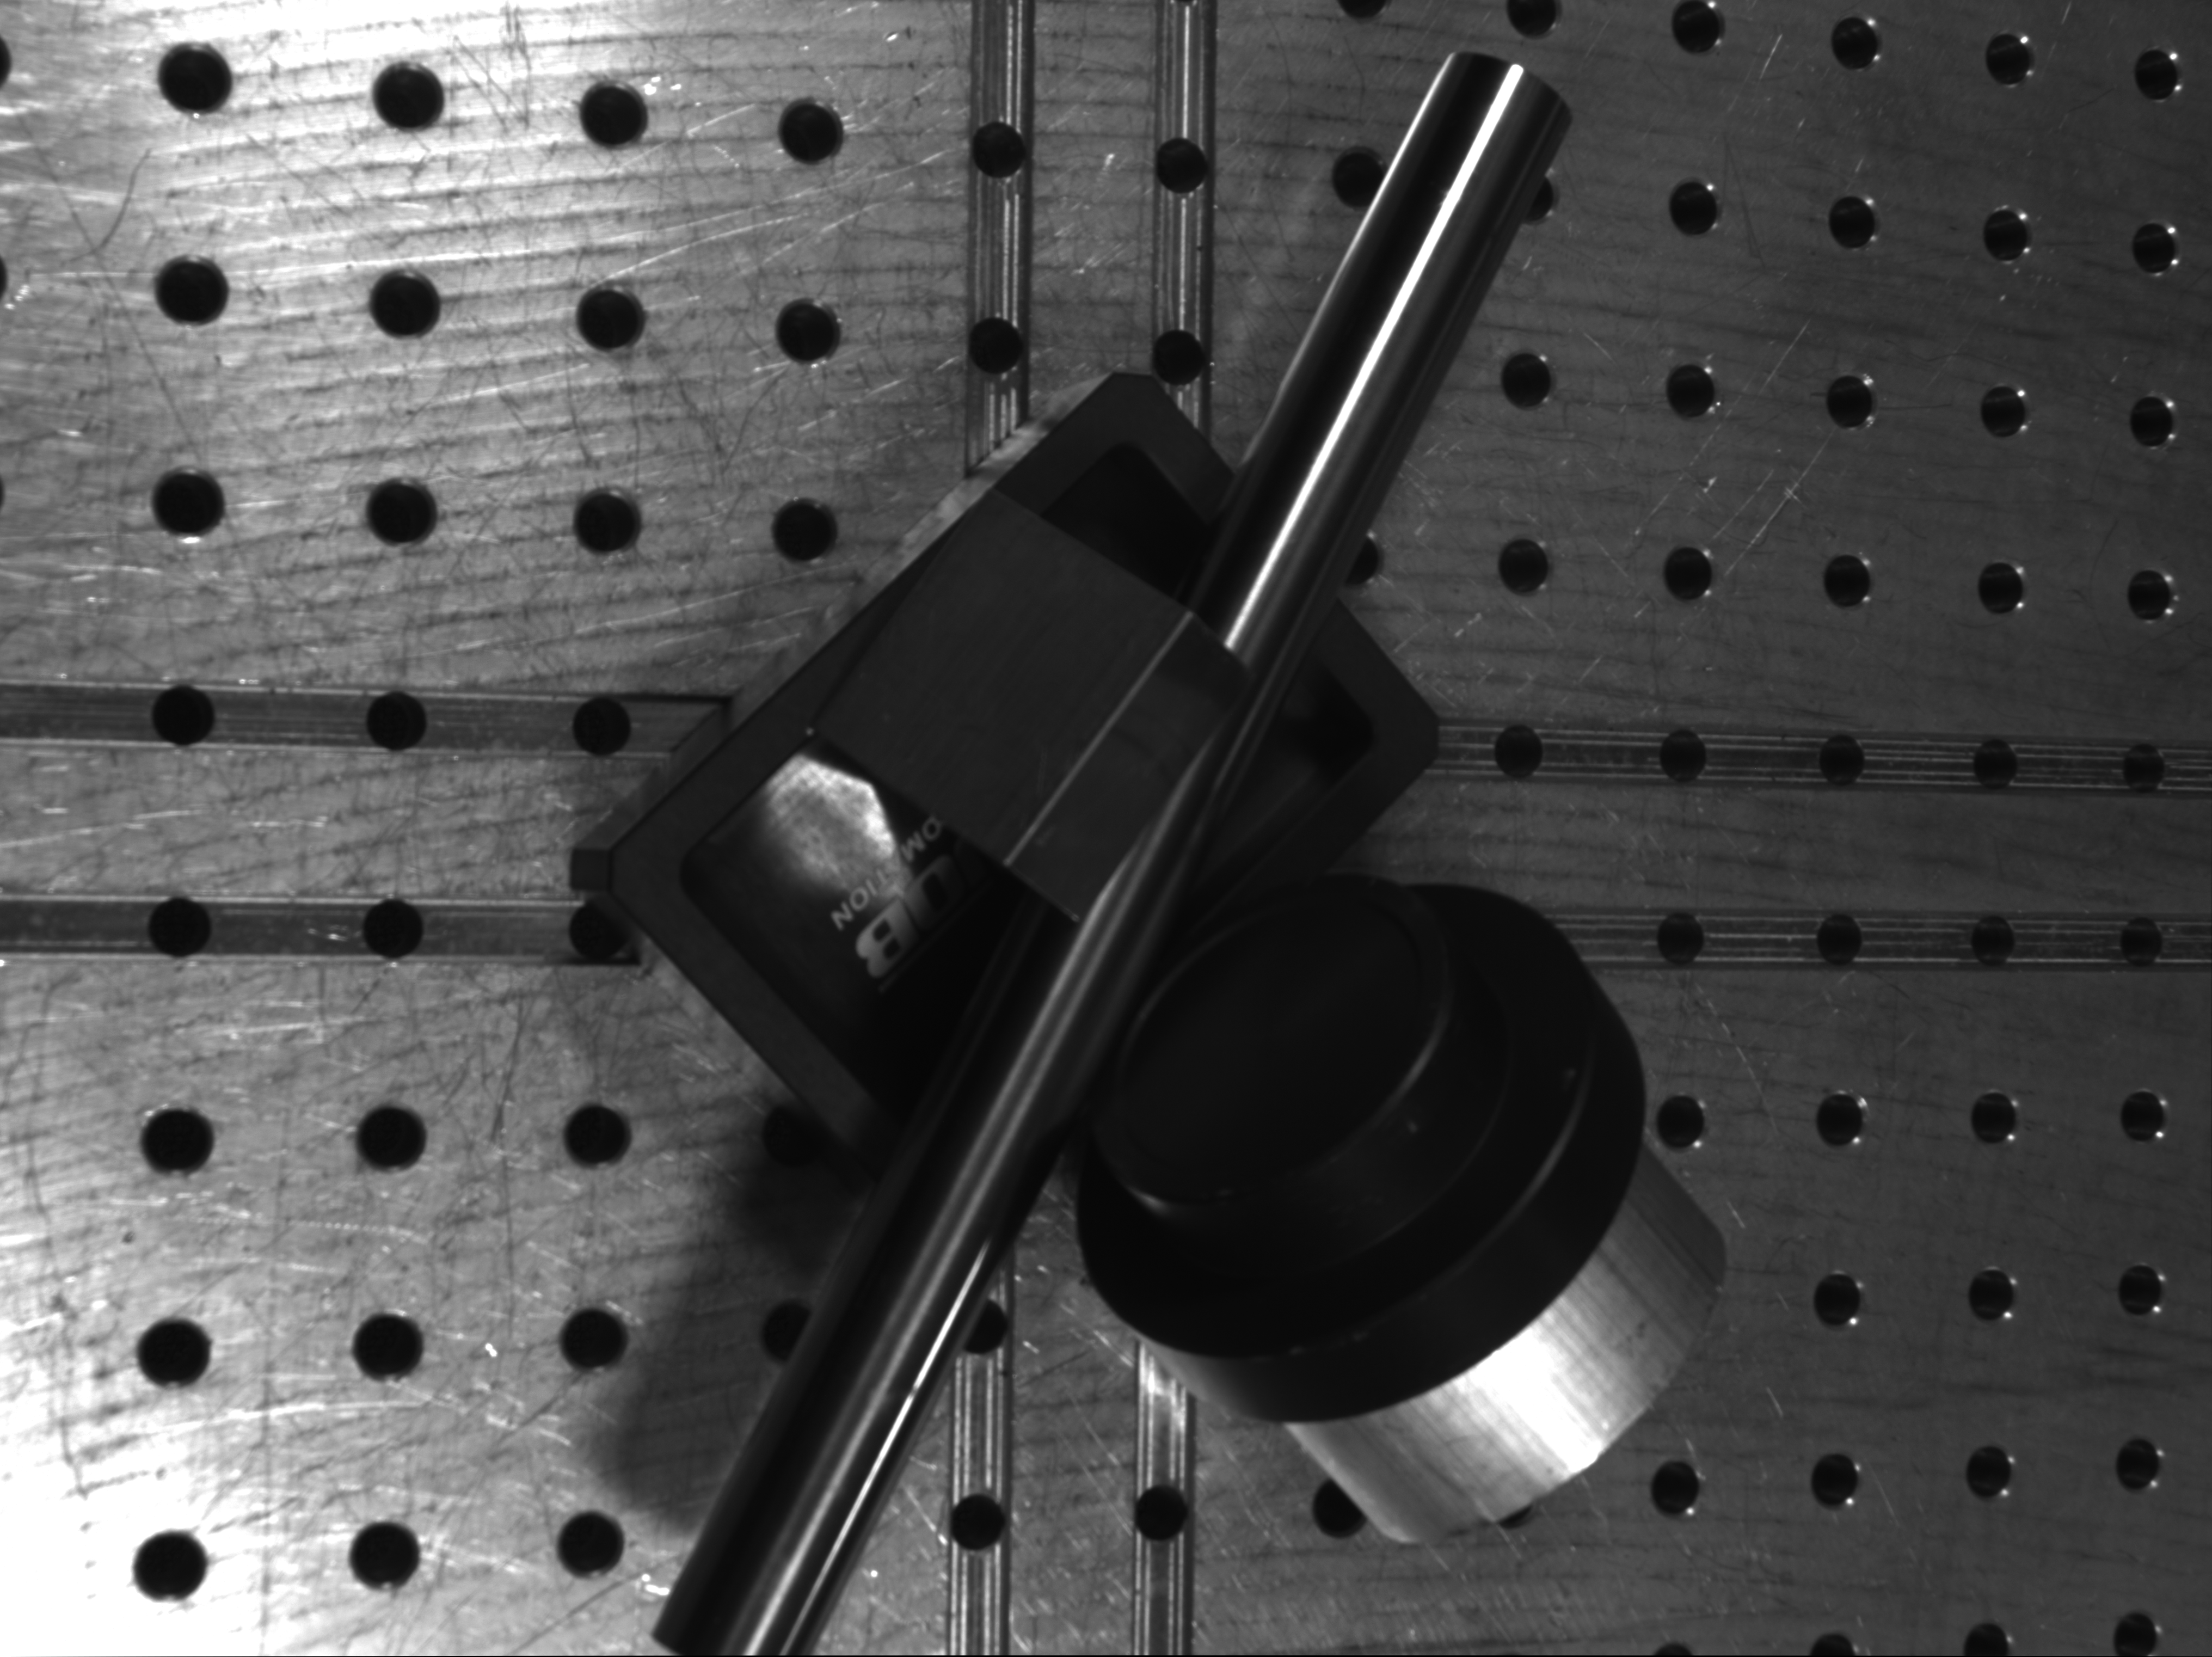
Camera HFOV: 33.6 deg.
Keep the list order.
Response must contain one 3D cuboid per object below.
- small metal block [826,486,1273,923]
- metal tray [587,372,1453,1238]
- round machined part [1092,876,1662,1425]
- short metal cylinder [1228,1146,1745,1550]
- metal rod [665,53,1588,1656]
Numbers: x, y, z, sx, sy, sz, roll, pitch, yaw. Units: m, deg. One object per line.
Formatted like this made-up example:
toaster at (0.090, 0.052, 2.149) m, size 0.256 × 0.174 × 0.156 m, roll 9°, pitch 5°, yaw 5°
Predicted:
small metal block at (-0.010, -0.021, 0.606) m, size 0.050 × 0.050 × 0.025 m, roll -54°, pitch 144°, yaw -2°
metal tray at (-0.013, -0.005, 0.638) m, size 0.130 × 0.030 × 0.090 m, roll -45°, pitch 104°, yaw -14°
round machined part at (0.039, 0.047, 0.610) m, size 0.098 × 0.098 × 0.042 m, roll -48°, pitch 126°, yaw -14°
short metal cylinder at (0.064, 0.078, 0.638) m, size 0.080 × 0.080 × 0.050 m, roll -45°, pitch 104°, yaw -14°
metal rod at (0.006, 0.004, 0.616) m, size 0.025 × 0.025 × 0.300 m, roll 30°, pitch 80°, yaw -17°
